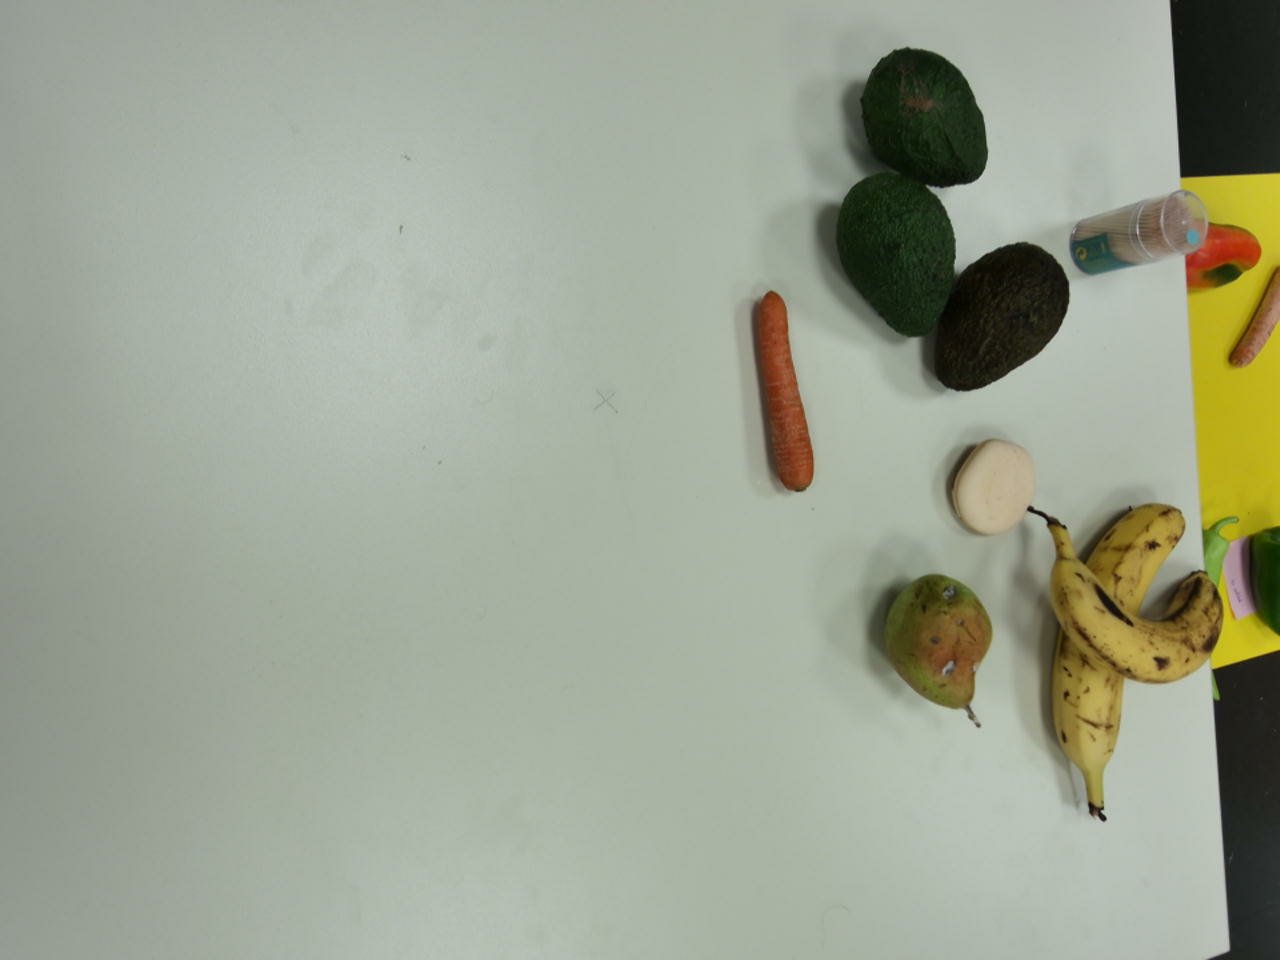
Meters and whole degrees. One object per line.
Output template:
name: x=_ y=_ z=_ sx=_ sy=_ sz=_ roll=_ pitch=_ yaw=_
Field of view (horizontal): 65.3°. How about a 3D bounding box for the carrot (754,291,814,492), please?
carrot: x=0.086 y=-0.053 z=0.597 sx=0.024 sy=0.023 sz=0.122 roll=-9 pitch=94 yaw=-22
